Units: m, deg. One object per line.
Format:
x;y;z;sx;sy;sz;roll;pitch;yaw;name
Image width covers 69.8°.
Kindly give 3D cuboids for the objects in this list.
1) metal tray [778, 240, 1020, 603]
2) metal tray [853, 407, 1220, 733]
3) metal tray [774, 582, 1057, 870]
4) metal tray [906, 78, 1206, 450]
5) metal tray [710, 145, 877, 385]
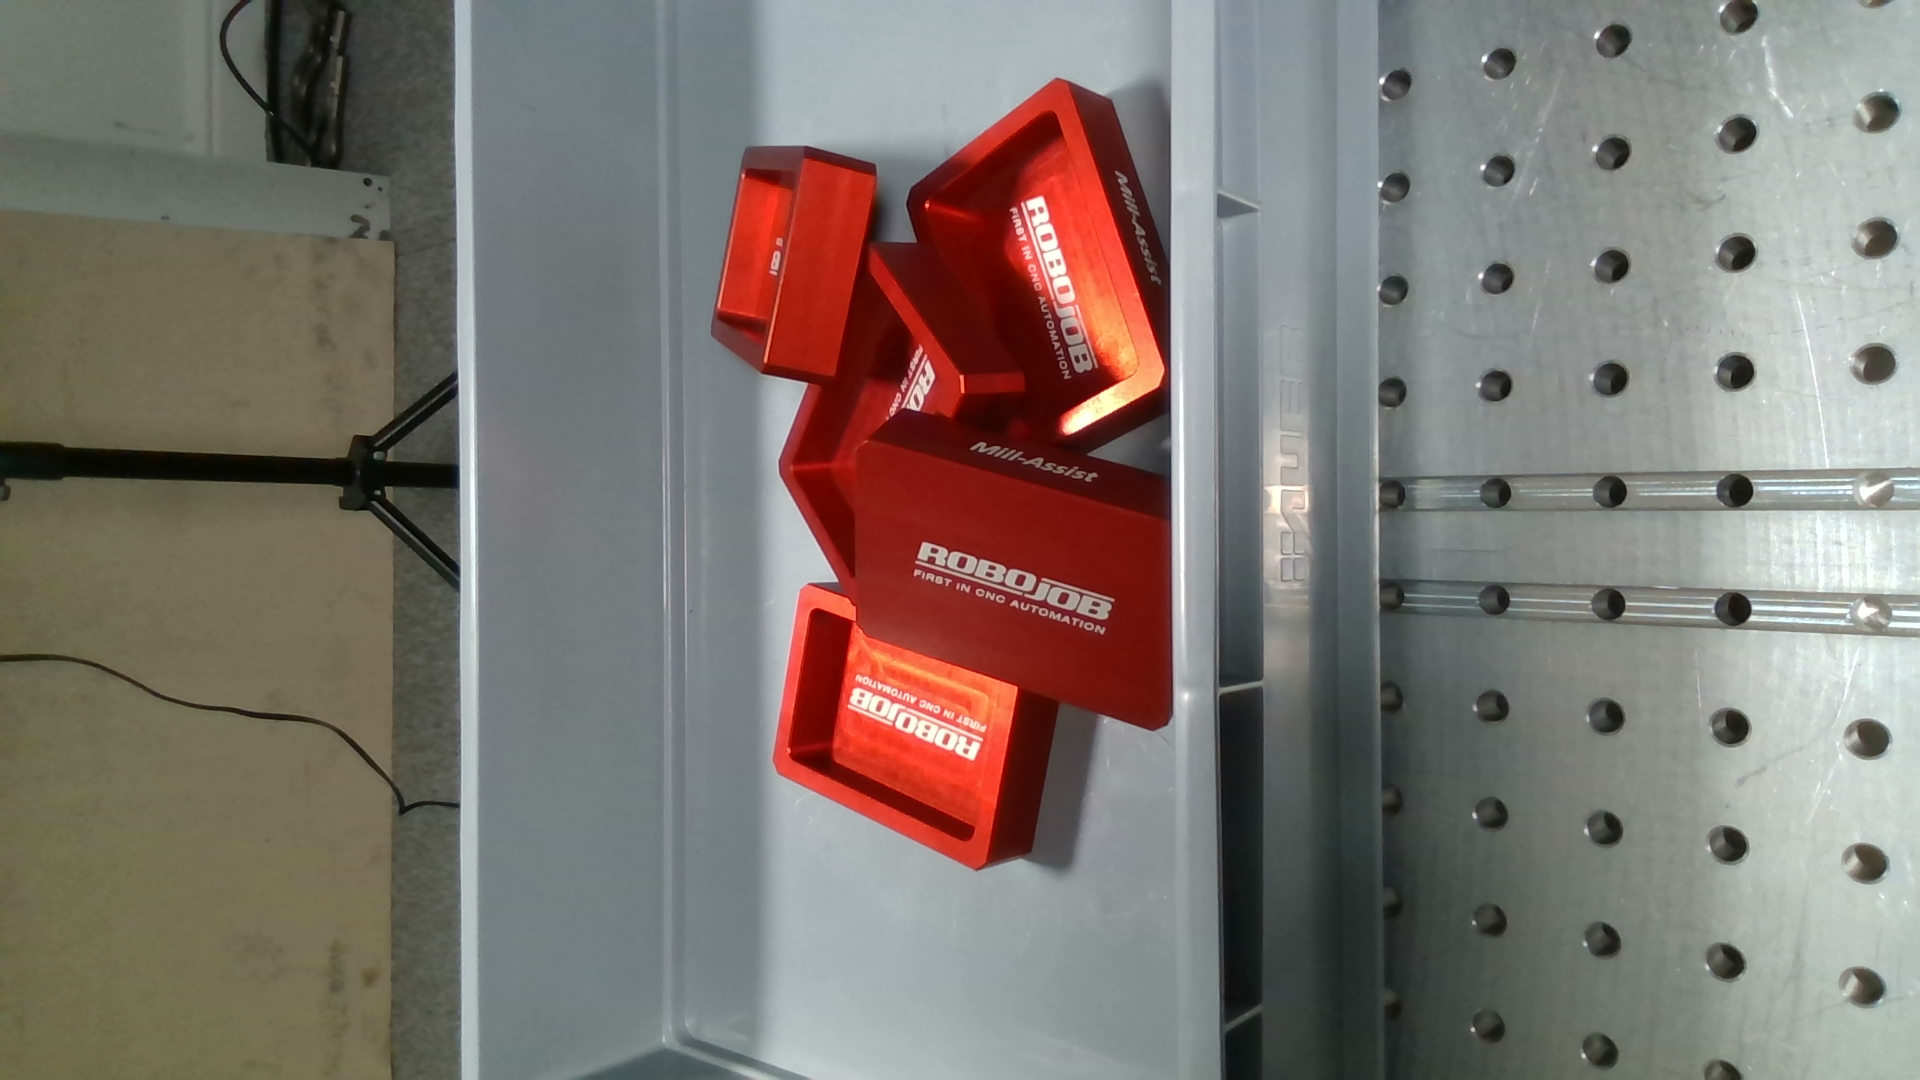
-0.030;-0.047;0.574;0.090;0.030;0.130;58;138;32;metal tray
0.024;0.010;0.512;0.130;0.030;0.090;17;125;20;metal tray
-0.022;0.076;0.596;0.130;0.030;0.090;16;101;39;metal tray
0.035;-0.102;0.546;0.090;0.030;0.130;-26;74;37;metal tray
-0.077;-0.124;0.602;0.130;0.030;0.090;-142;63;-65;metal tray
